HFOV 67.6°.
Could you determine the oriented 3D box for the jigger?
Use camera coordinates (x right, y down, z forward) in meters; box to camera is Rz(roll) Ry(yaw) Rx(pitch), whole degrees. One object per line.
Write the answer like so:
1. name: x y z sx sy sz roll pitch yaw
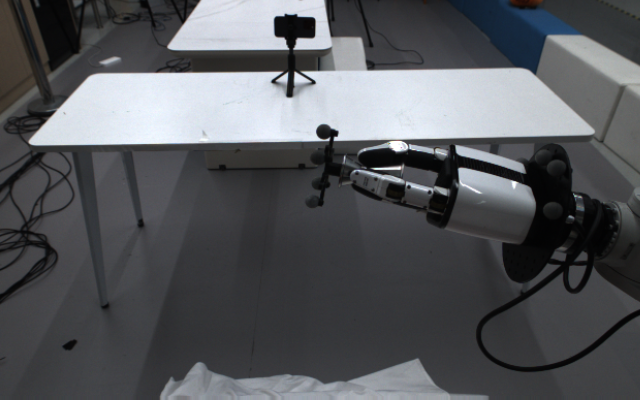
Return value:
1. jigger: 0.065 -0.030 0.555 0.071 0.043 0.043 10 35 4
